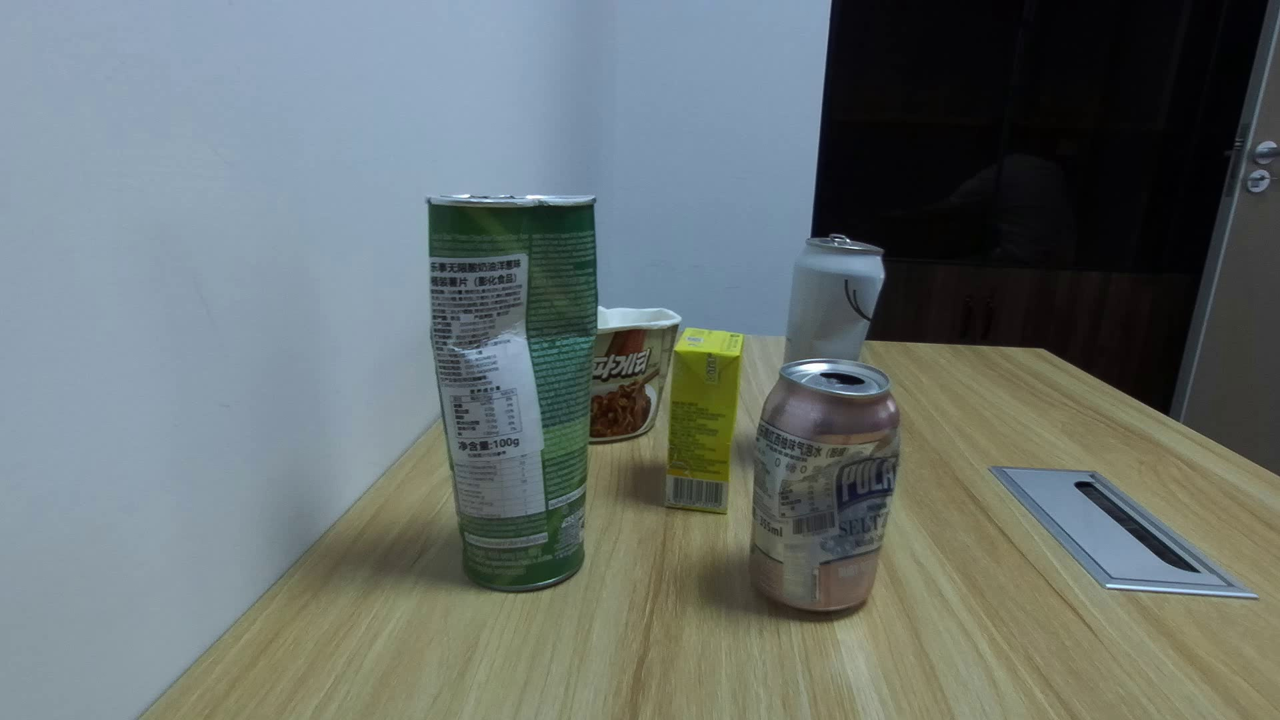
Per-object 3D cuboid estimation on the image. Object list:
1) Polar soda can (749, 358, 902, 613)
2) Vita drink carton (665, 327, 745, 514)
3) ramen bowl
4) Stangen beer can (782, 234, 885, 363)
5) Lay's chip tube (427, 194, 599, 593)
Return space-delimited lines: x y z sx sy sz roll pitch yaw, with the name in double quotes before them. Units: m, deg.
"Polar soda can" 0.096 0.065 0.365 0.074 0.122 0.067 4 18 9
"Vita drink carton" 0.045 0.037 0.476 0.043 0.109 0.076 4 17 11
"ramen bowl" -0.028 0.005 0.598 0.134 0.097 0.113 0 17 -12
"Stangen beer can" 0.143 -0.004 0.519 0.070 0.173 0.069 -8 18 -35
"Lay's chip tube" -0.061 0.017 0.372 0.069 0.199 0.075 5 16 9
